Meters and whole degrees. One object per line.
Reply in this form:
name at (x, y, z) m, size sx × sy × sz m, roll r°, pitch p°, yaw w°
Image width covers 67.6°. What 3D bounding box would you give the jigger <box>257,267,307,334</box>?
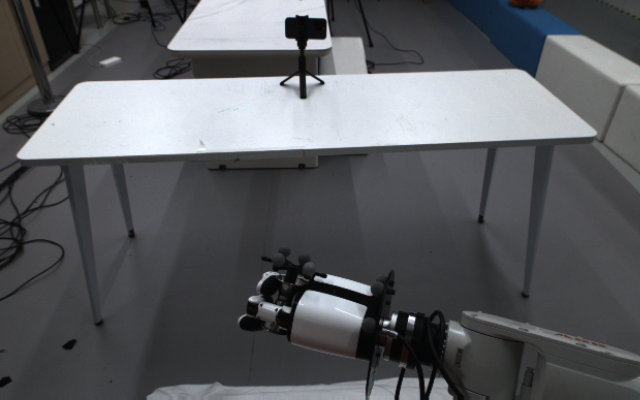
jigger at (-0.047, 0.137, 0.636) m, size 0.043 × 0.071 × 0.043 m, roll 17°, pitch 2°, yaw -1°
